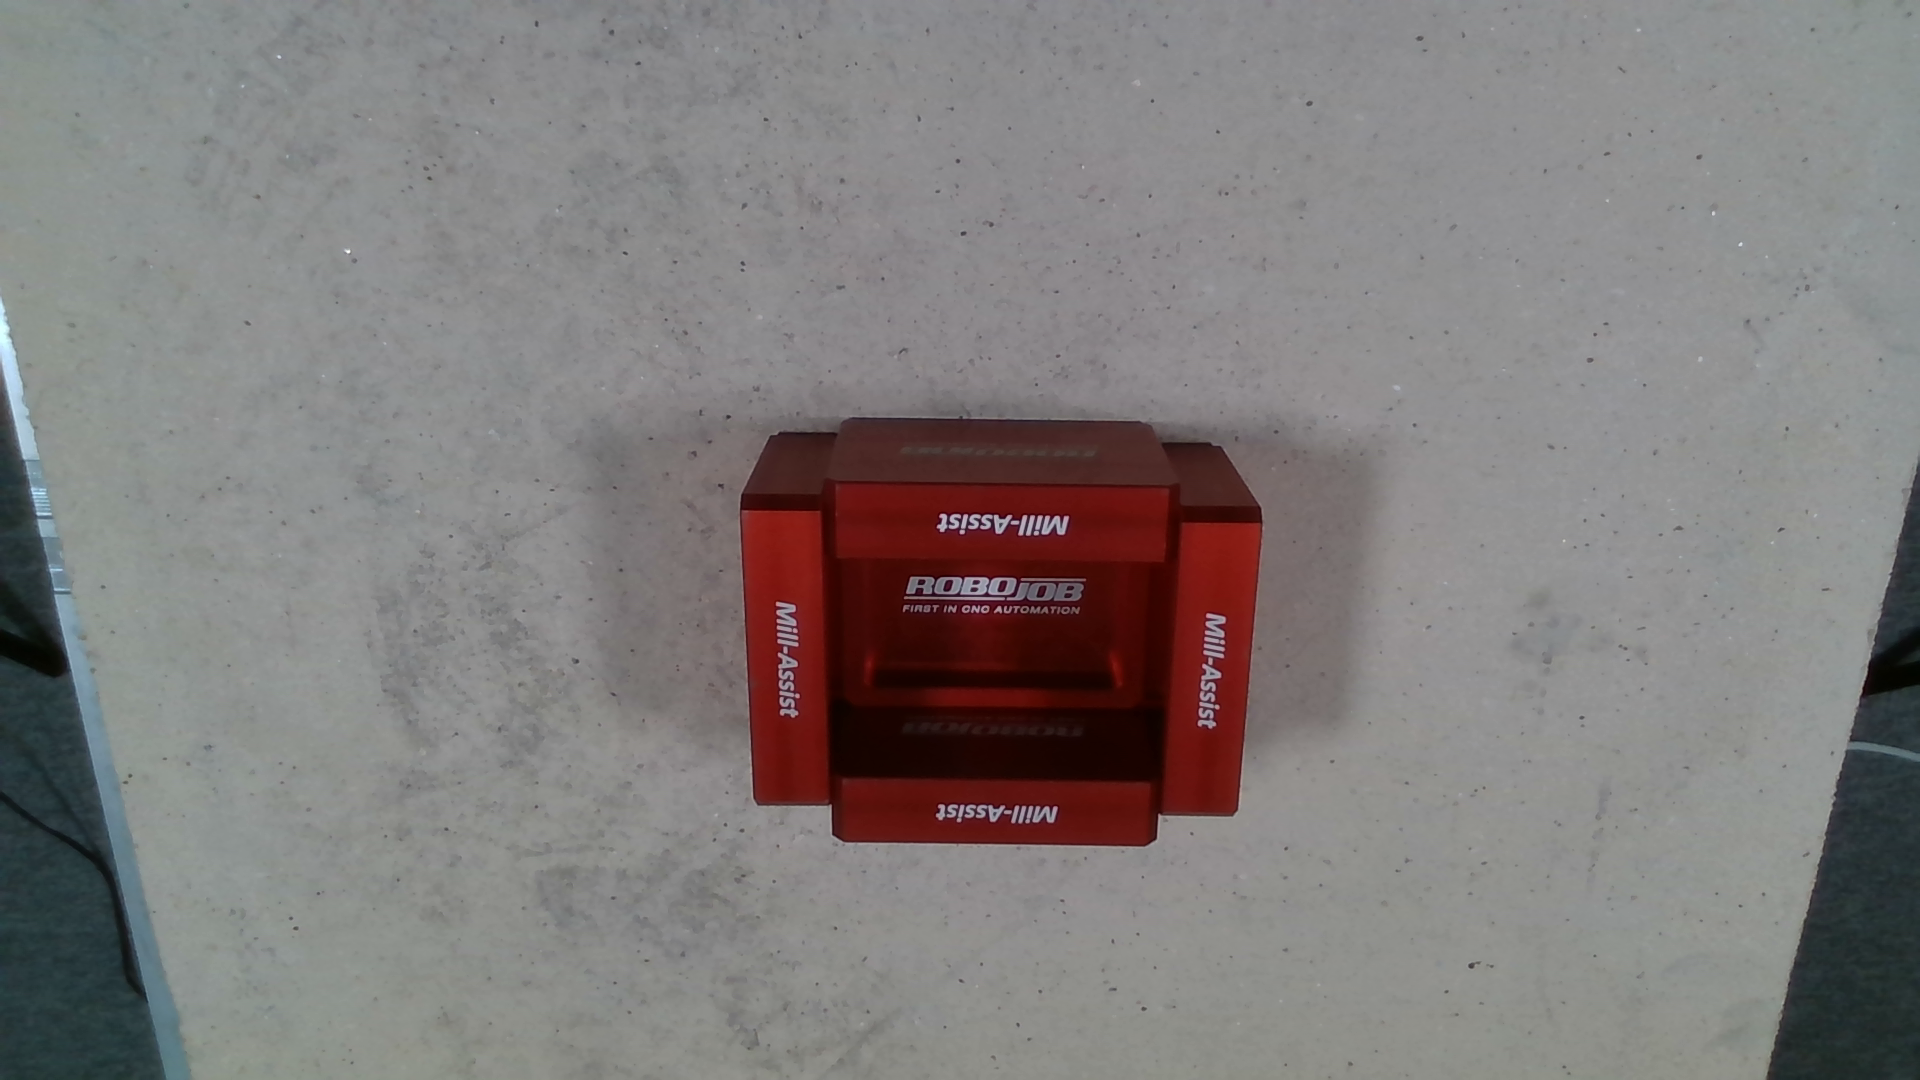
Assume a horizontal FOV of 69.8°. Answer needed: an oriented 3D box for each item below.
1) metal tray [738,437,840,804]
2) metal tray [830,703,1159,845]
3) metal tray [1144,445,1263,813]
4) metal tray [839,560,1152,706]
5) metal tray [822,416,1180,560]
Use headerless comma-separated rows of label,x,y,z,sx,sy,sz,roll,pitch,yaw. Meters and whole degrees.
metal tray,-0.066,0.030,0.561,0.030,0.090,0.130,1,110,0
metal tray,0.013,0.092,0.583,0.130,0.090,0.030,1,110,0
metal tray,0.095,0.035,0.562,0.030,0.090,0.130,1,110,0
metal tray,0.015,0.024,0.591,0.130,0.030,0.090,1,110,0
metal tray,0.015,-0.022,0.541,0.130,0.090,0.030,1,110,0
